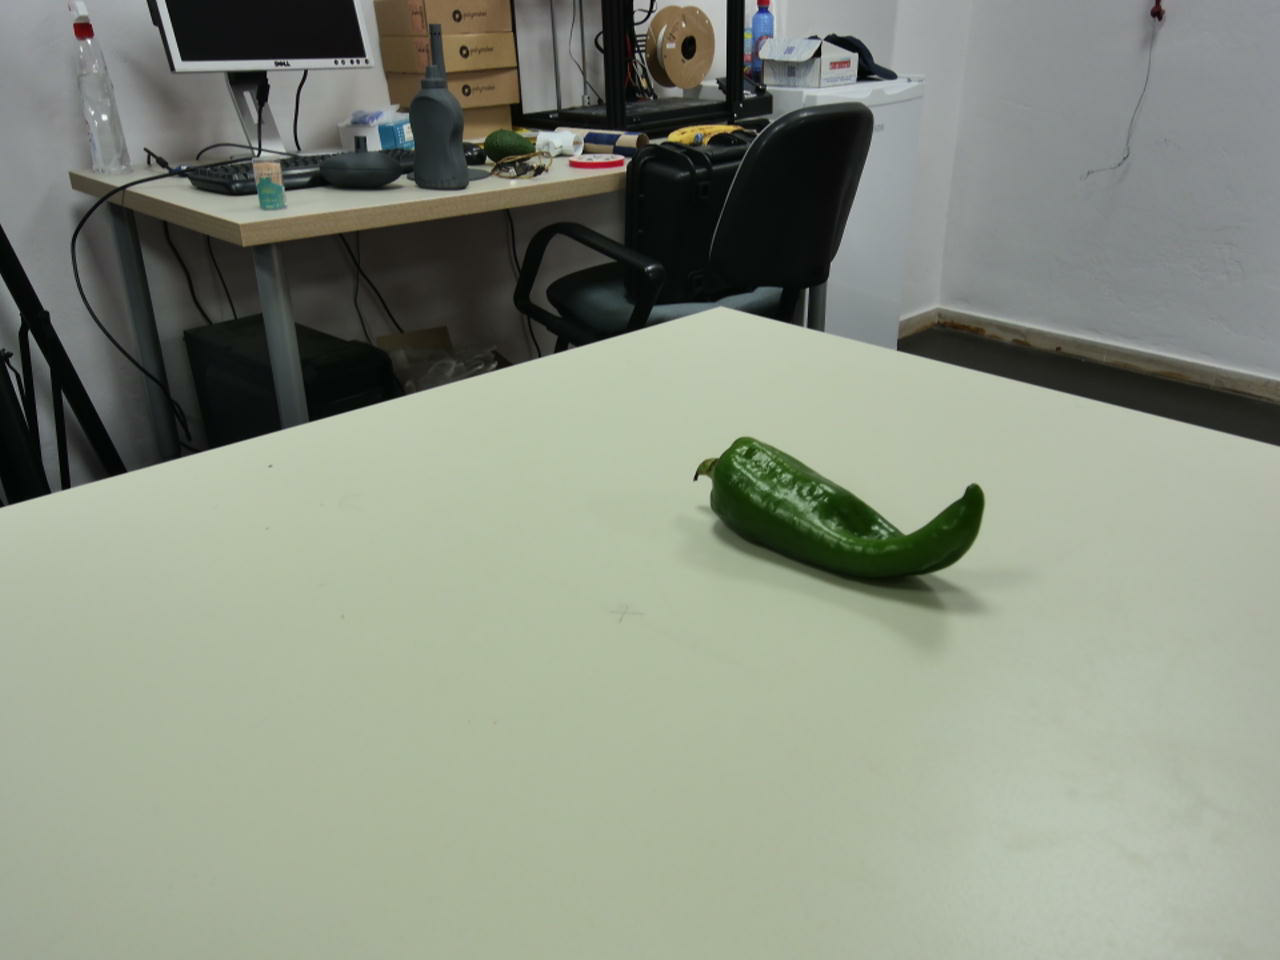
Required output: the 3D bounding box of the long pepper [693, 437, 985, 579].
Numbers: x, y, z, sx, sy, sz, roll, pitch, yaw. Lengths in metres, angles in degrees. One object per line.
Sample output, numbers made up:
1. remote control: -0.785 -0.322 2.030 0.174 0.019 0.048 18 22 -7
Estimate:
1. long pepper: 0.096 0.011 0.539 0.058 0.065 0.175 -20 31 -39
